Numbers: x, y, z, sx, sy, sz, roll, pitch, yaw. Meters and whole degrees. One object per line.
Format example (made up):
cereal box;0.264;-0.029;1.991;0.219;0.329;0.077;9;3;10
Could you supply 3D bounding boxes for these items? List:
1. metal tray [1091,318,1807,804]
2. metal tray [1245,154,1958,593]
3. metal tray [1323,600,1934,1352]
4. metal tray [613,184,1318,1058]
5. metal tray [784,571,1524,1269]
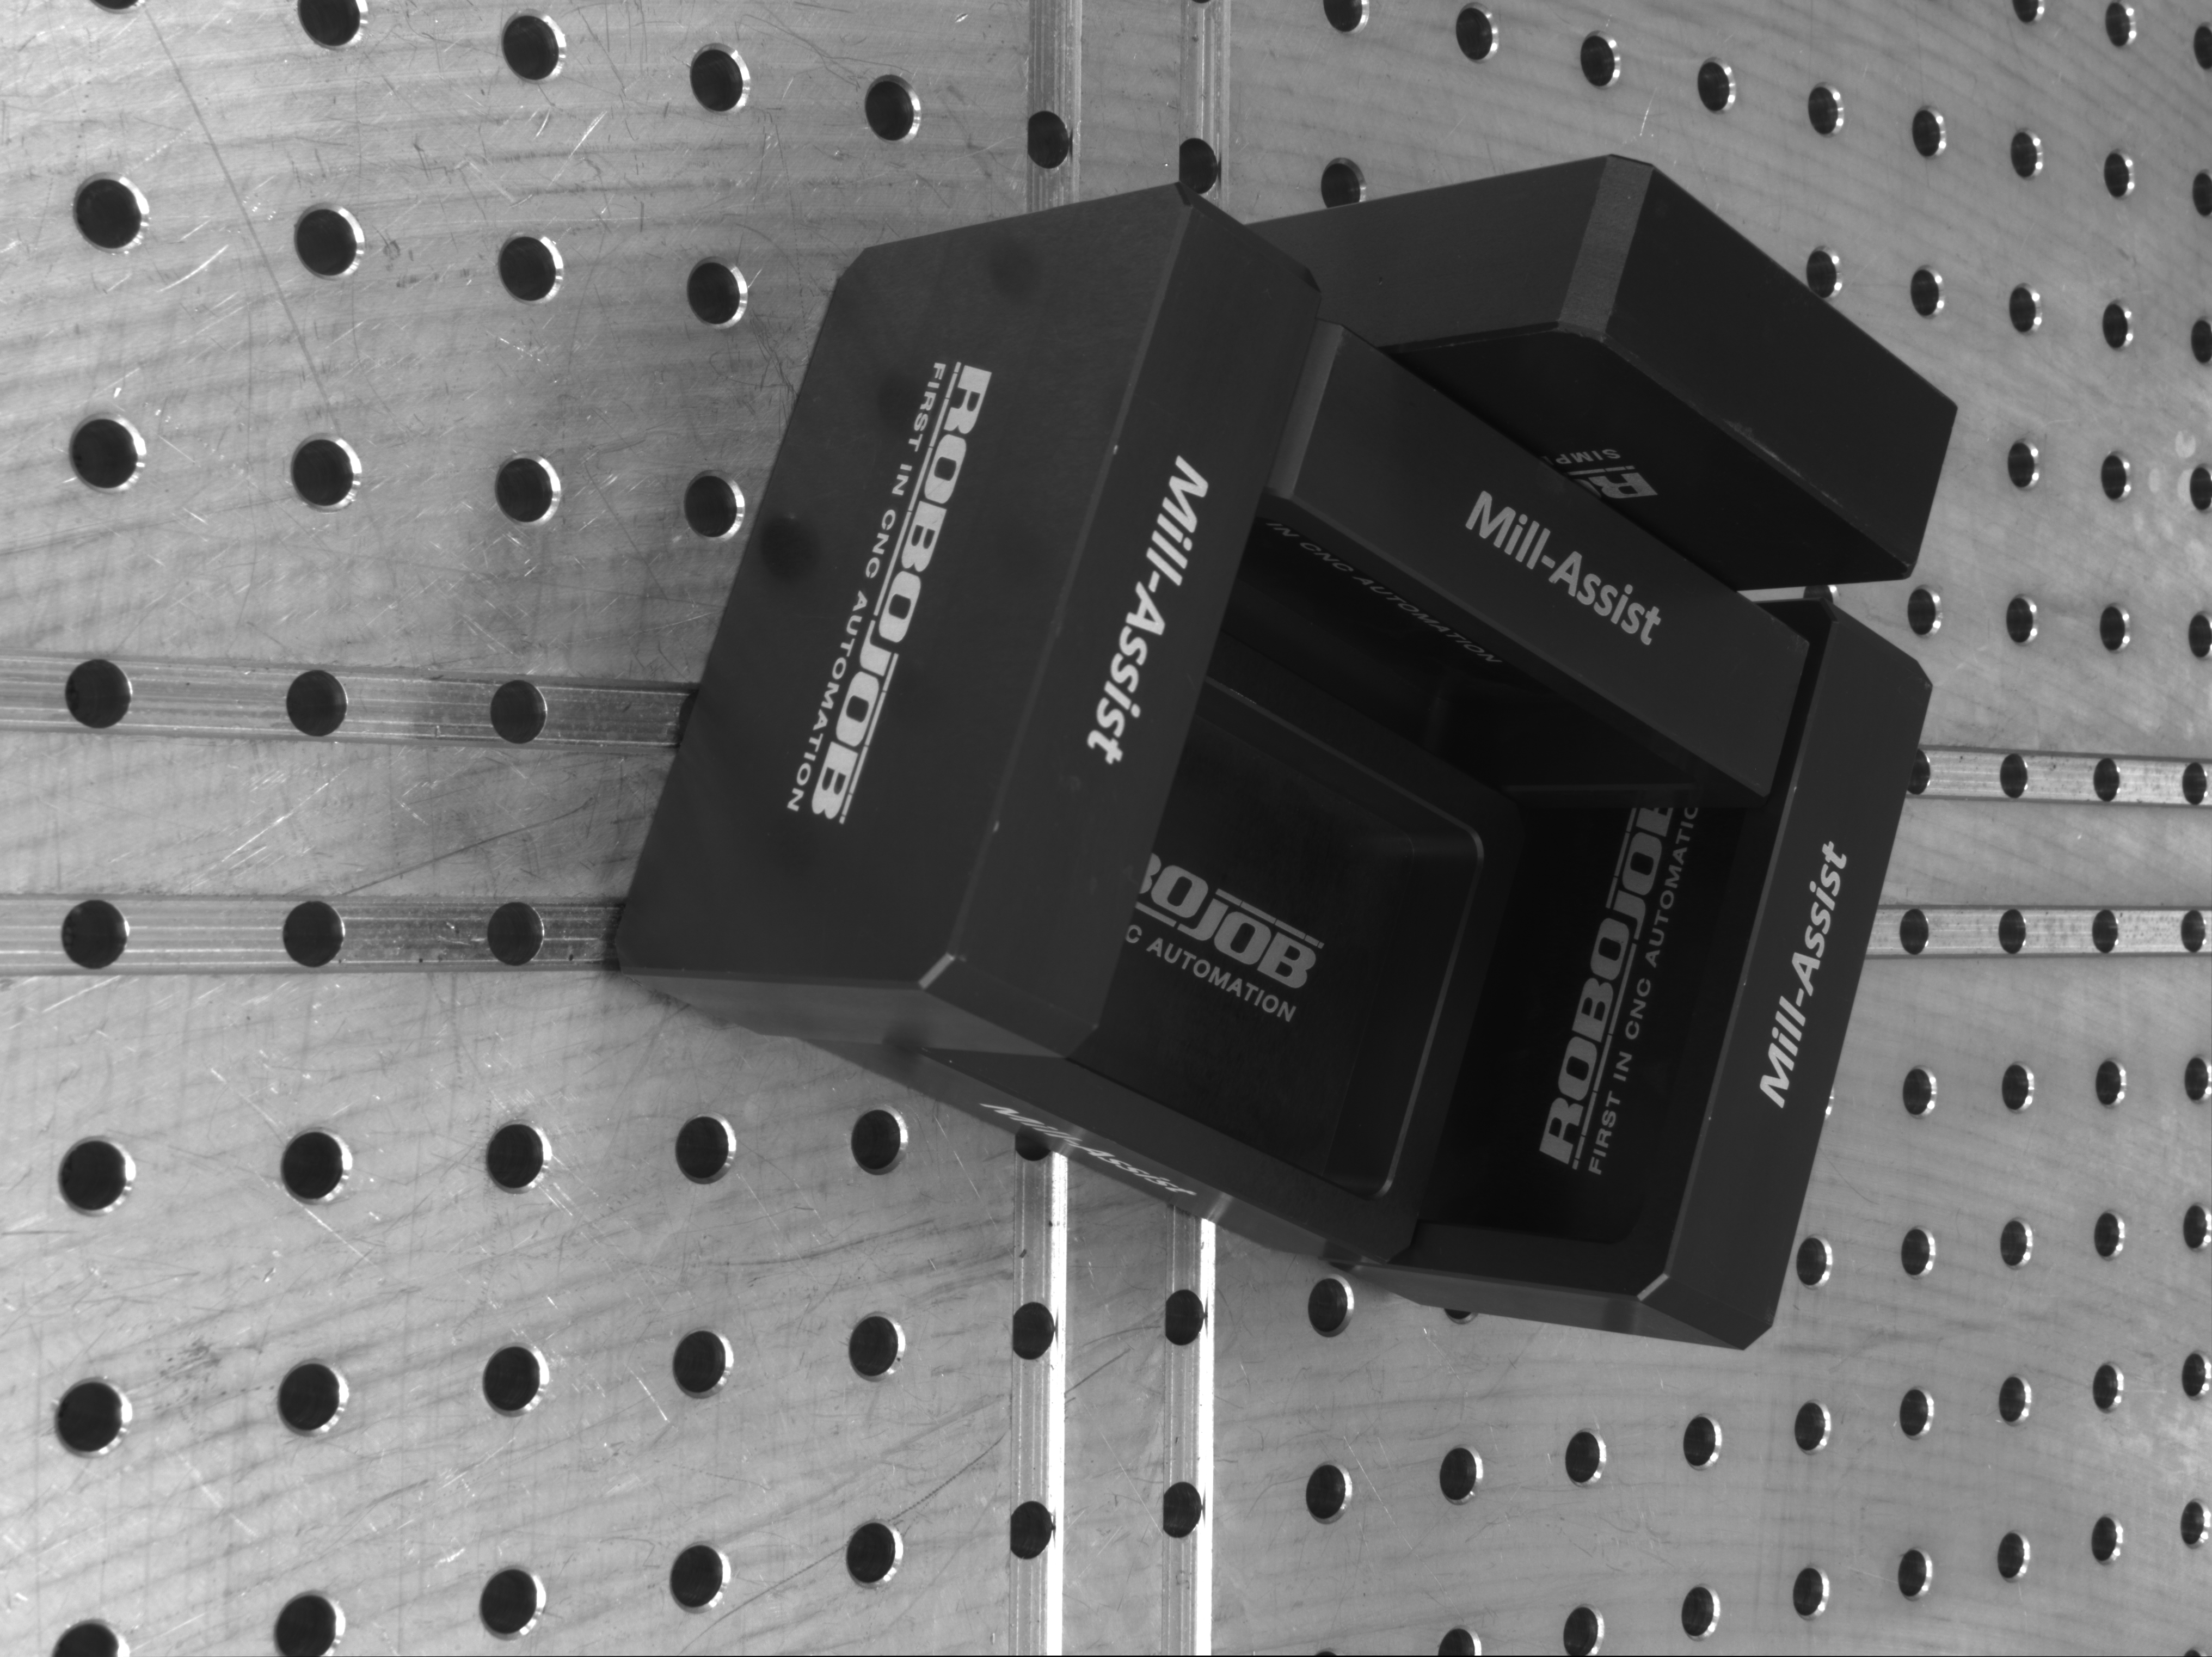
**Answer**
metal tray;0.047;-0.042;0.636;0.130;0.090;0.030;28;73;-37
metal tray;0.066;-0.072;0.625;0.090;0.130;0.030;29;73;-36
metal tray;0.093;0.025;0.674;0.030;0.090;0.130;27;73;-36
metal tray;-0.023;-0.032;0.578;0.030;0.090;0.130;28;73;-37
metal tray;0.011;0.015;0.644;0.130;0.030;0.090;28;73;-37
